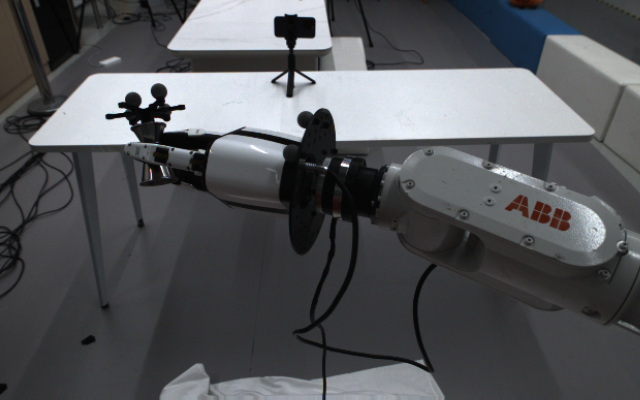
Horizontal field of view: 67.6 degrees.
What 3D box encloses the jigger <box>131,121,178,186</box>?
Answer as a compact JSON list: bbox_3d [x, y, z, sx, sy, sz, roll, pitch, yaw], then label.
[{"bbox_3d":[-0.192,-0.052,0.567,0.043,0.071,0.043,-12,-3,-1],"label":"jigger"}]
